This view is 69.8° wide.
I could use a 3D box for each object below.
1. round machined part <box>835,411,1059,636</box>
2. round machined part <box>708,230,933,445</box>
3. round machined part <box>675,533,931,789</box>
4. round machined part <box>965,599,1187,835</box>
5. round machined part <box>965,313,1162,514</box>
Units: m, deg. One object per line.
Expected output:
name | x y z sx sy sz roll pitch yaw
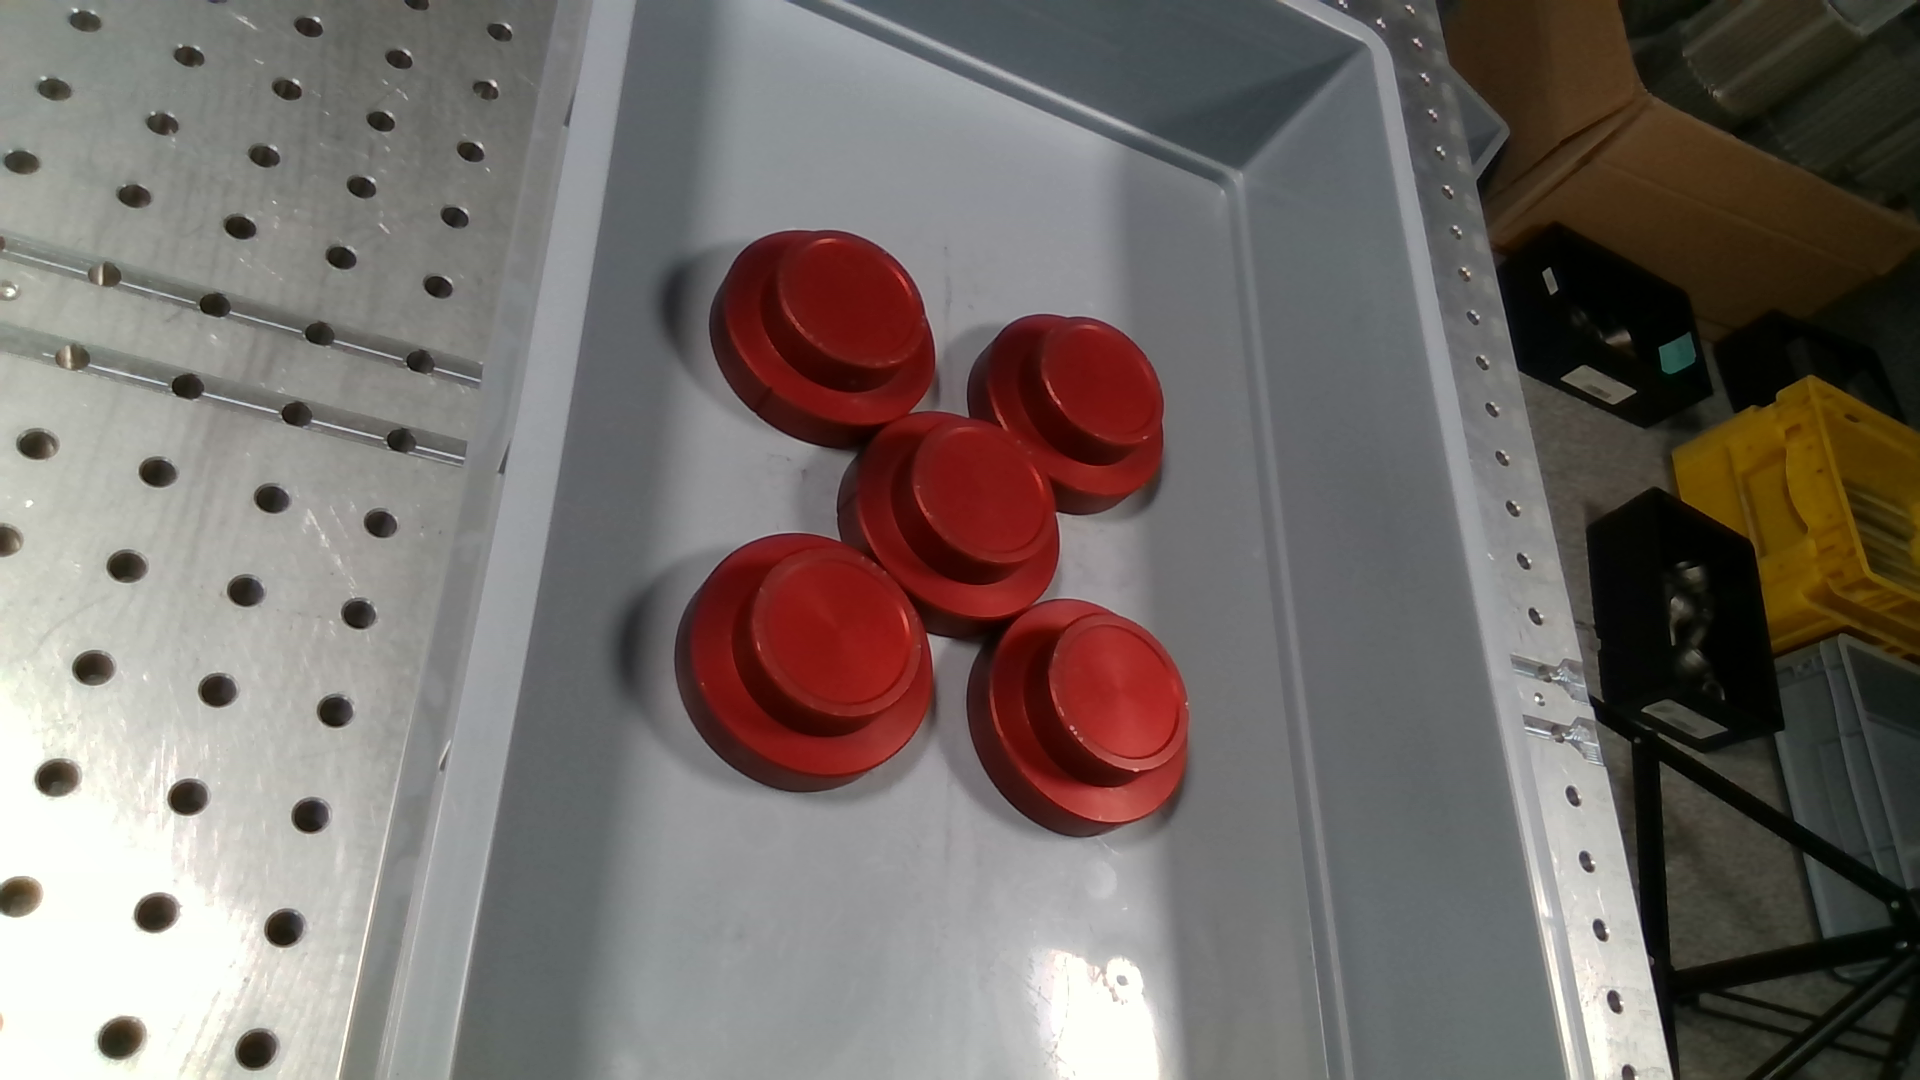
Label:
round machined part | 0.000 -0.012 0.580 0.098 0.042 0.098 14 59 -25
round machined part | -0.055 -0.093 0.590 0.098 0.042 0.098 14 59 -25
round machined part | -0.054 0.041 0.519 0.098 0.042 0.098 14 59 -25
round machined part | 0.054 0.069 0.571 0.098 0.042 0.098 14 59 -25
round machined part | 0.055 -0.065 0.643 0.098 0.042 0.098 14 59 -25
